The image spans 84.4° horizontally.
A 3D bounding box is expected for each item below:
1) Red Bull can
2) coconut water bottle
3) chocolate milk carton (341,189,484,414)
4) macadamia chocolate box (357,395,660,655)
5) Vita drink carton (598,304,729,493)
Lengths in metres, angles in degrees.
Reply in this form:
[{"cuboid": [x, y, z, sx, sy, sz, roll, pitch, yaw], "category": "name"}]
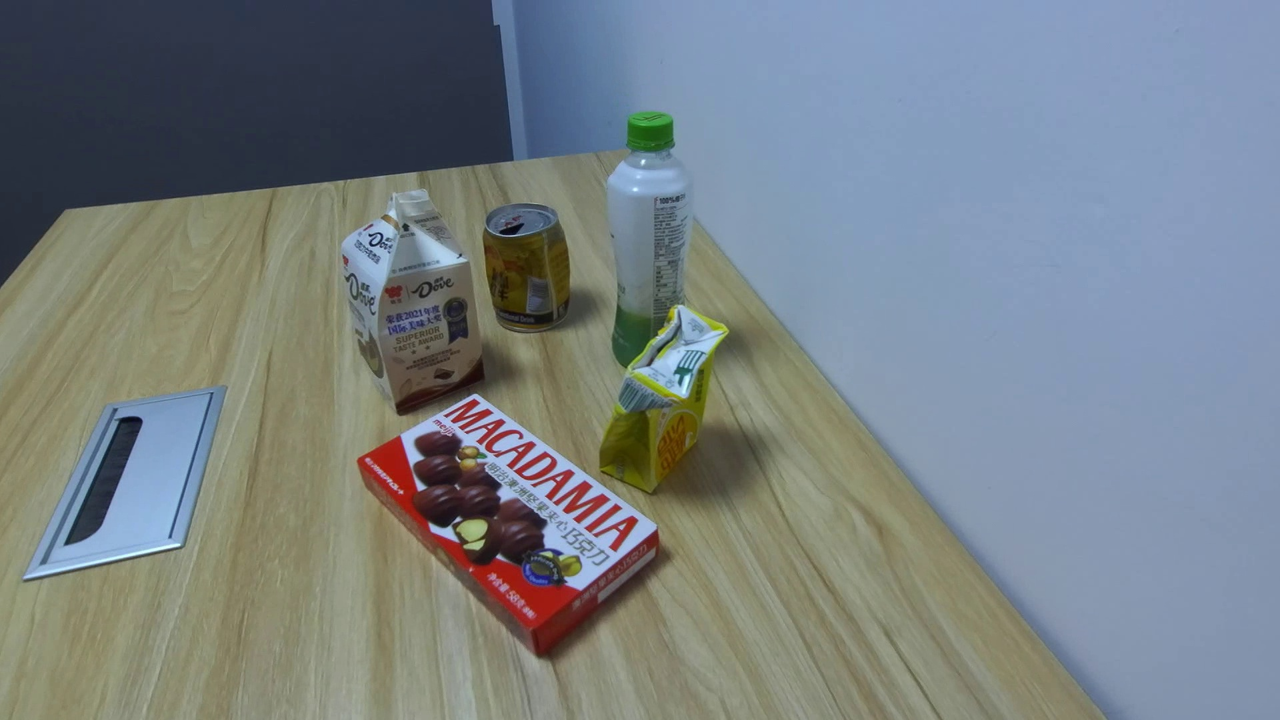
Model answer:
[{"cuboid": [-0.096, -0.079, 0.598, 0.072, 0.092, 0.072, 1, 38, 0], "category": "Red Bull can"}, {"cuboid": [0.008, -0.082, 0.518, 0.063, 0.189, 0.063, -1, 34, 1], "category": "coconut water bottle"}, {"cuboid": [-0.167, -0.052, 0.510, 0.074, 0.156, 0.076, -22, 42, -28], "category": "chocolate milk carton"}, {"cuboid": [-0.084, 0.089, 0.432, 0.177, 0.027, 0.096, 30, 46, 34], "category": "macadamia chocolate box"}, {"cuboid": [0.016, 0.027, 0.442, 0.042, 0.108, 0.087, 32, 49, 17], "category": "Vita drink carton"}]
